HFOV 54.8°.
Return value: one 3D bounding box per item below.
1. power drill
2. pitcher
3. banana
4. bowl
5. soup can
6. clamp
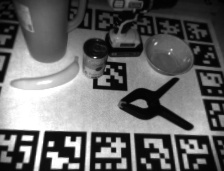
[{"bbox_3d":[0.071,-0.209,0.622,0.185,0.187,0.057,0,62,-10],"label":"power drill"},{"bbox_3d":[-0.165,-0.201,0.563,0.190,0.243,0.132,-18,63,-18],"label":"pitcher"},{"bbox_3d":[-0.184,-0.053,0.600,0.199,0.039,0.073,-18,58,-21],"label":"banana"},{"bbox_3d":[0.167,-0.109,0.683,0.162,0.055,0.161,4,63,-8],"label":"bowl"},{"bbox_3d":[-0.056,-0.103,0.613,0.068,0.102,0.067,5,53,-6],"label":"soup can"},{"bbox_3d":[0.105,0.026,0.602,0.204,0.036,0.164,3,66,-9],"label":"clamp"}]
